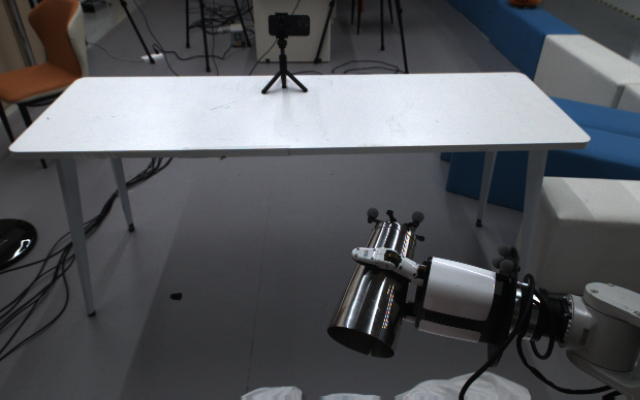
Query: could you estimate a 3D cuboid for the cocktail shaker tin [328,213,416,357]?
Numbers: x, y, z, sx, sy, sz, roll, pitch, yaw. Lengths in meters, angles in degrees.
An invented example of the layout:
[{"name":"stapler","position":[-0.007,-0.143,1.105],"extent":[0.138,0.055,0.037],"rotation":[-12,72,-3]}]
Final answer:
[{"name":"cocktail shaker tin","position":[0.081,0.116,0.662],"extent":[0.093,0.093,0.170],"rotation":[13,57,15]}]
